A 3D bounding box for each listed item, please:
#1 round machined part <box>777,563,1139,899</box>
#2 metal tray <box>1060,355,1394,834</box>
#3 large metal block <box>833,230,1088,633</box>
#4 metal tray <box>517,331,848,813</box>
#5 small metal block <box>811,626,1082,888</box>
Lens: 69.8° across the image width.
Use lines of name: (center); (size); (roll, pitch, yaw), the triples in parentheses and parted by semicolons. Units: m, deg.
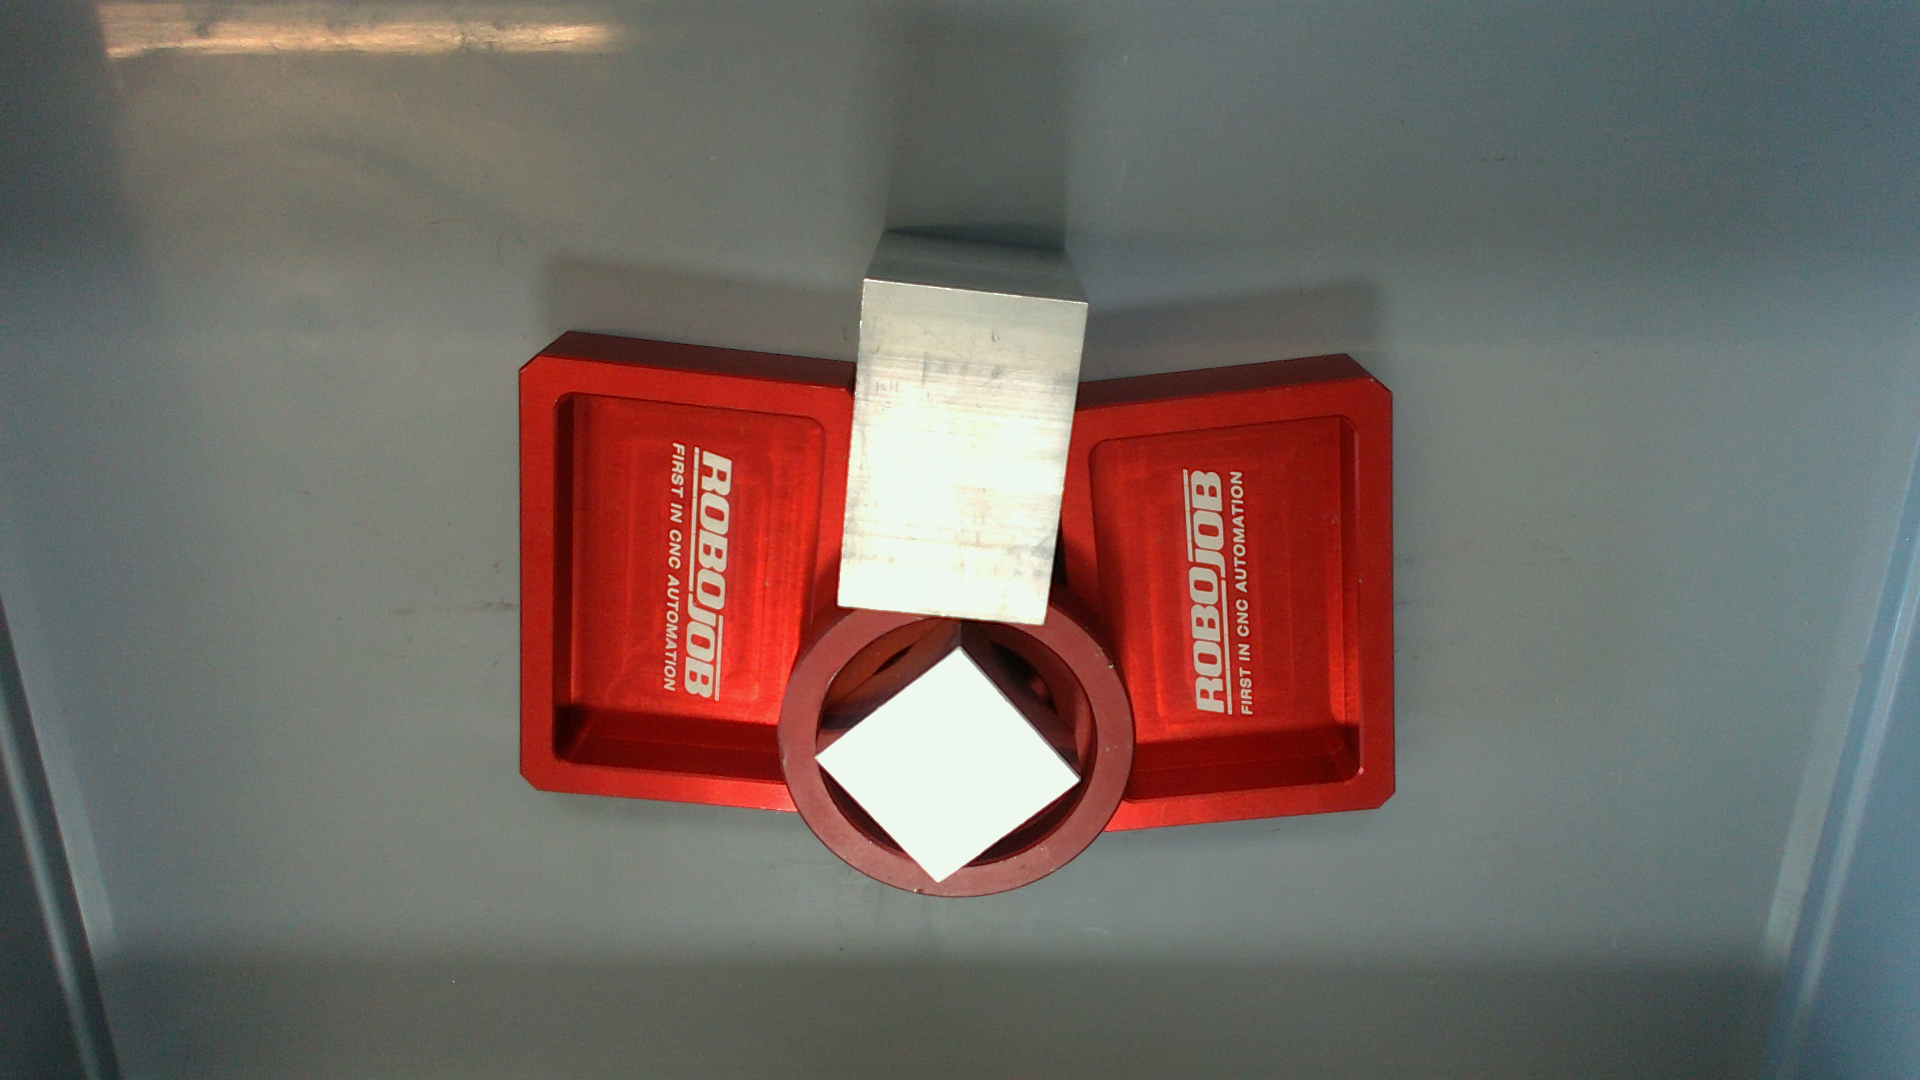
round machined part: (0.000, 0.049, 0.391); (0.098, 0.042, 0.098); (0, 110, 0)
metal tray: (0.075, 0.017, 0.396); (0.090, 0.030, 0.130); (-6, 110, 2)
large metal block: (-0.001, -0.031, 0.352); (0.050, 0.080, 0.080); (6, 110, -2)
metal tray: (-0.077, 0.011, 0.393); (0.090, 0.030, 0.130); (6, 110, -2)
small metal block: (-0.003, 0.056, 0.368); (0.050, 0.025, 0.050); (-38, 106, 13)
